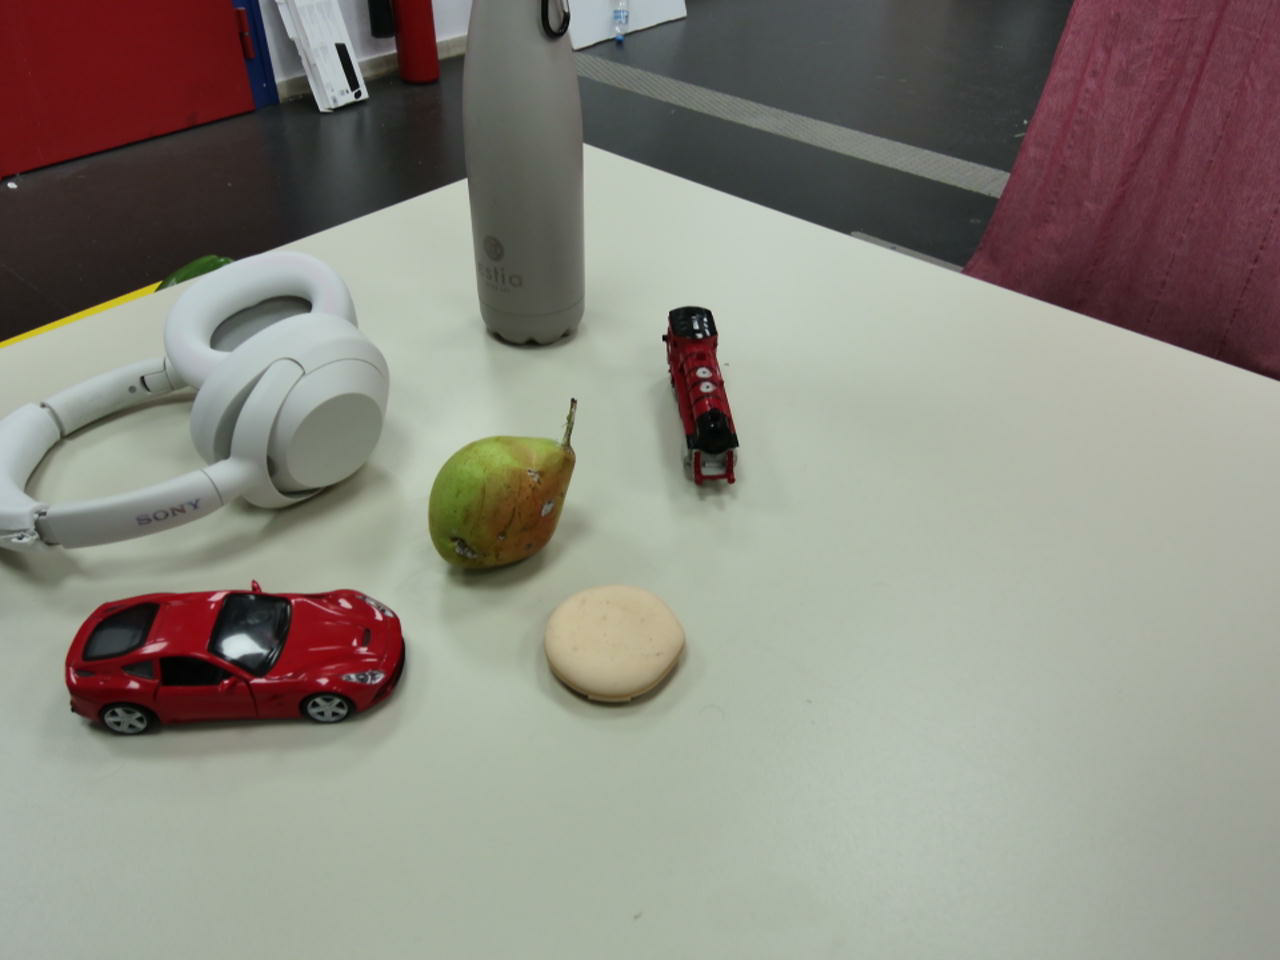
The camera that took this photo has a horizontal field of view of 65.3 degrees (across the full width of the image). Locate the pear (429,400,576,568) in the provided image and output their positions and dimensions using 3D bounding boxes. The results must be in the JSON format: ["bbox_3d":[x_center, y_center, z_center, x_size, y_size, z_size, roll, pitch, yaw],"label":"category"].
[{"bbox_3d":[-0.067,0.007,0.488,0.070,0.069,0.068,1,37,1],"label":"pear"}]
